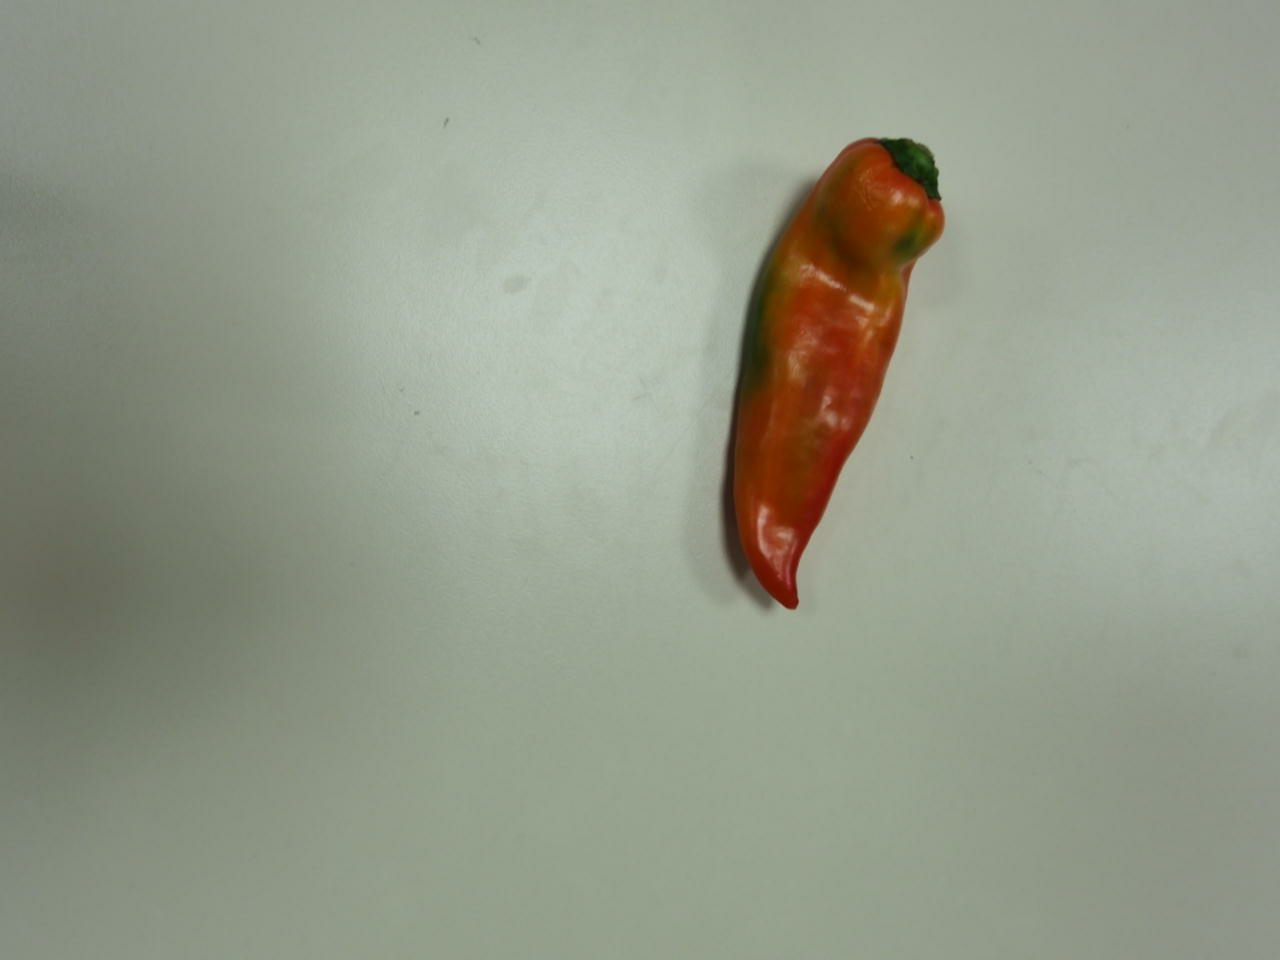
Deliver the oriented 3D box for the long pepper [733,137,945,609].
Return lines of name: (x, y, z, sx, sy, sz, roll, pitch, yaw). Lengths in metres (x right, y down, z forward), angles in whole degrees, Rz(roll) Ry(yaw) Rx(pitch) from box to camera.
long pepper: (0.080, -0.045, 0.420, 0.066, 0.065, 0.199, 15, 88, -11)
